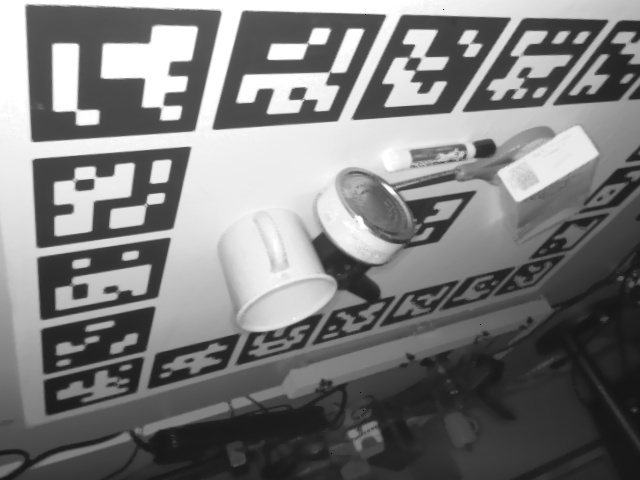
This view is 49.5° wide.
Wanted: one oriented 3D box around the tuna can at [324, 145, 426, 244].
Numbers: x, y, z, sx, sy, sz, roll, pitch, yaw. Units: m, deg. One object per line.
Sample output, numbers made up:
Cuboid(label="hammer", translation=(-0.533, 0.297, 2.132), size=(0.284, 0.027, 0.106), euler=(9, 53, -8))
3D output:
Cuboid(label="tuna can", translation=(0.048, -0.040, 0.590), size=(0.087, 0.086, 0.033), euler=(7, 136, -42))

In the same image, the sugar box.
Cuboid(label="sugar box", translation=(0.257, -0.057, 0.744), size=(0.093, 0.045, 0.176), euler=(-27, 155, 3))

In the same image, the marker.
Cuboid(label="marker", translation=(0.137, -0.096, 0.633), size=(0.123, 0.019, 0.019), euler=(-9, 144, -27))

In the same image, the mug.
Cuboid(label="mug", translation=(-0.023, -0.006, 0.599), size=(0.094, 0.081, 0.116), euler=(-22, 152, -6))

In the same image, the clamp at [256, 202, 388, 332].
Cuboid(label="clamp", translation=(0.017, 0.020, 0.723), size=(0.167, 0.036, 0.200), euler=(-12, 145, -20))

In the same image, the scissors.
Cuboid(label="scissors", translation=(0.165, -0.073, 0.684), size=(0.205, 0.016, 0.086), euler=(-11, 150, -20))
